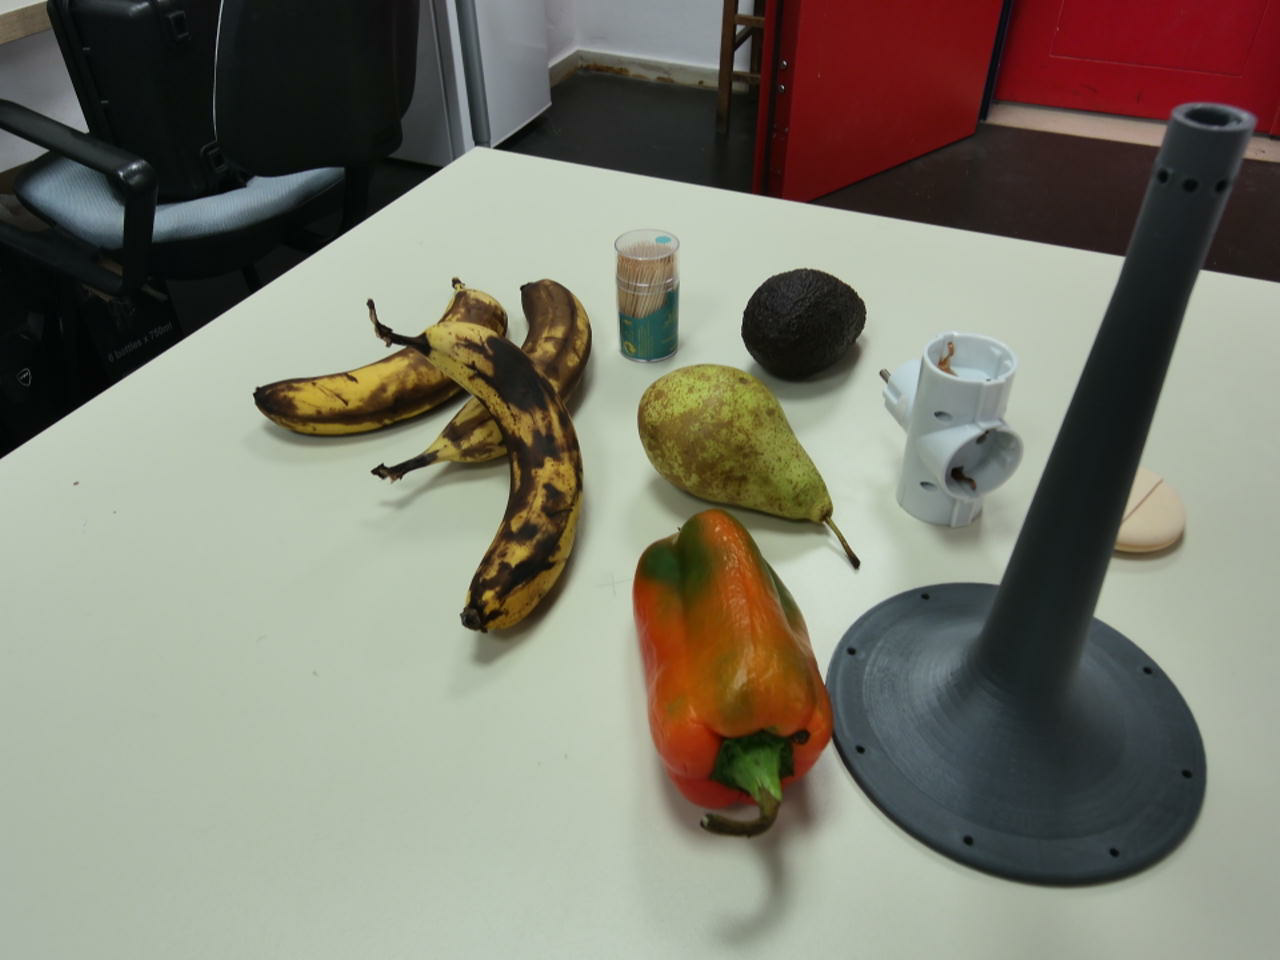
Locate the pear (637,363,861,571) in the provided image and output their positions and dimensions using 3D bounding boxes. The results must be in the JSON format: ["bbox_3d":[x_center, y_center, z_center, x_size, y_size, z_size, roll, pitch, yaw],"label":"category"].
[{"bbox_3d":[0.060,-0.019,0.520,0.128,0.075,0.071,12,39,14],"label":"pear"}]
